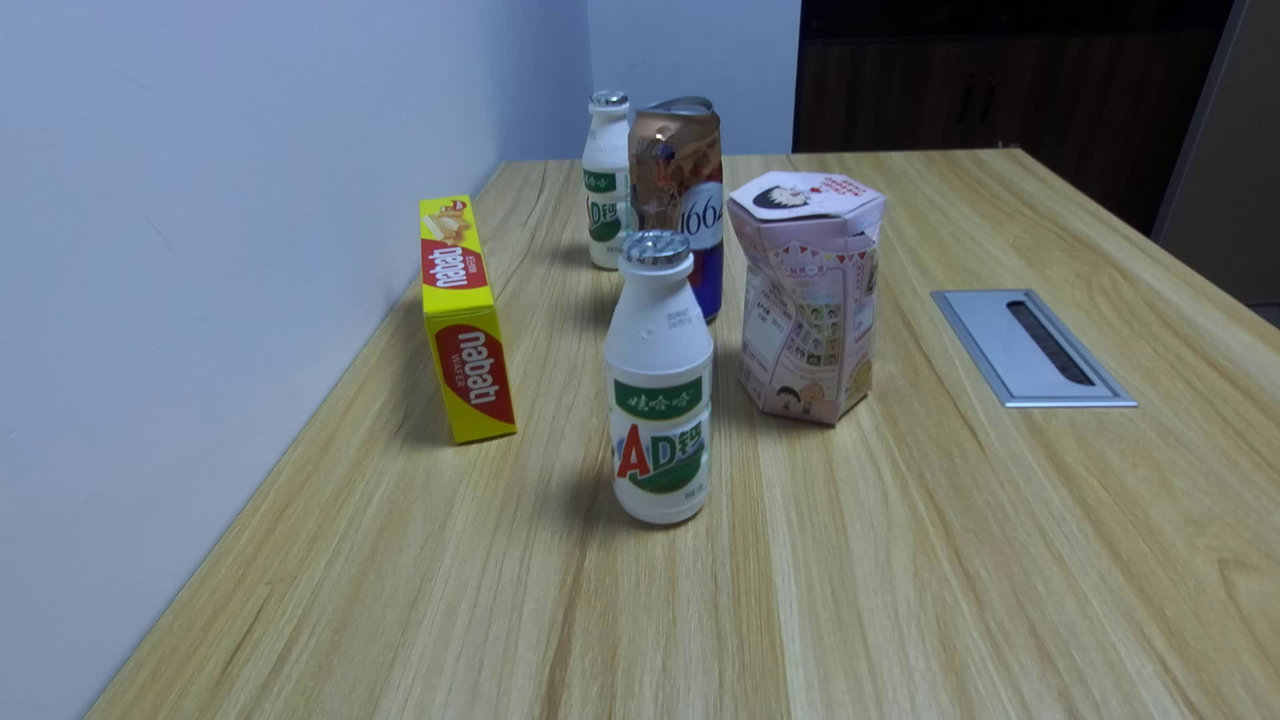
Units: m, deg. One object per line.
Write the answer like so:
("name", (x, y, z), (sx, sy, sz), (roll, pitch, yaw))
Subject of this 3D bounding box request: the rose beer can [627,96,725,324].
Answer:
("rose beer can", (0.029, -0.104, 0.519), (0.068, 0.162, 0.073), (-2, 31, 3))

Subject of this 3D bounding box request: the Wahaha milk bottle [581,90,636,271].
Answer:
("Wahaha milk bottle", (-0.022, -0.154, 0.618), (0.056, 0.148, 0.056), (-1, 27, 1))

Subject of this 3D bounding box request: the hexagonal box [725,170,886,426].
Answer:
("hexagonal box", (0.099, -0.036, 0.431), (0.090, 0.135, 0.091), (9, 33, 23))

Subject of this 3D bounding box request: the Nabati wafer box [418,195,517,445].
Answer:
("Nabati wafer box", (-0.123, -0.039, 0.494), (0.042, 0.093, 0.202), (-10, 33, -12))

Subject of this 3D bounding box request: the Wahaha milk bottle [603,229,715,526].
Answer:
("Wahaha milk bottle", (0.009, 0.012, 0.346), (0.053, 0.147, 0.053), (-2, 32, 1))
